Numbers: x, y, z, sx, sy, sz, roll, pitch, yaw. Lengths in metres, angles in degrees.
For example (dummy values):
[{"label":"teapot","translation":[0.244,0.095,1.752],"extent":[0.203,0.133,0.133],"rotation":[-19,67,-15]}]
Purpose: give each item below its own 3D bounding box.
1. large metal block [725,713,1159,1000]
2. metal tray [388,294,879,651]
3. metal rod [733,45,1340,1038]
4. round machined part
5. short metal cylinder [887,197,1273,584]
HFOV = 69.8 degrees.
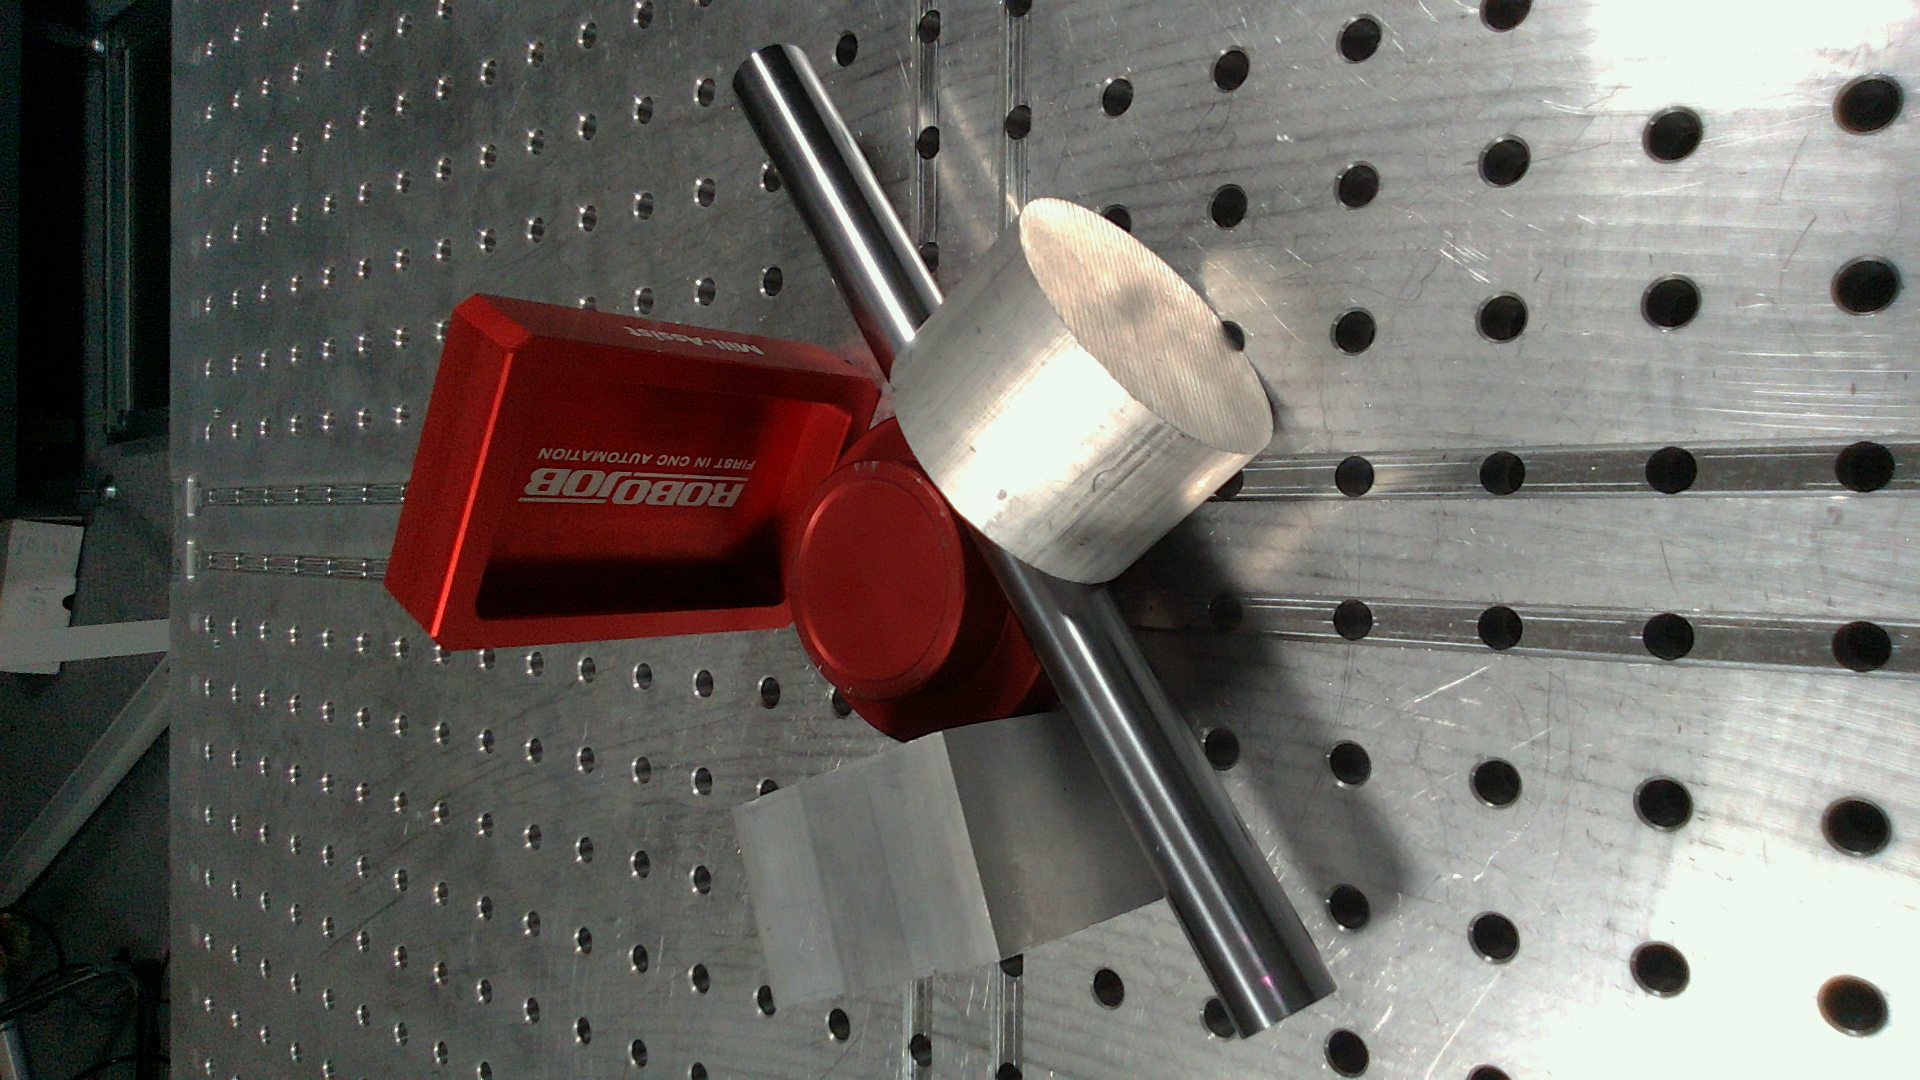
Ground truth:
[{"label":"large metal block","translation":[-0.001,0.080,0.363],"extent":[0.080,0.080,0.050],"rotation":[-25,74,37]},{"label":"metal tray","translation":[-0.091,-0.017,0.406],"extent":[0.030,0.131,0.090],"rotation":[34,111,35]},{"label":"metal rod","translation":[0.008,-0.017,0.363],"extent":[0.025,0.025,0.300],"rotation":[-42,64,32]},{"label":"round machined part","translation":[-0.012,0.012,0.397],"extent":[0.098,0.042,0.098],"rotation":[0,90,40]},{"label":"short metal cylinder","translation":[0.029,-0.036,0.336],"extent":[0.050,0.080,0.080],"rotation":[-45,63,31]}]
